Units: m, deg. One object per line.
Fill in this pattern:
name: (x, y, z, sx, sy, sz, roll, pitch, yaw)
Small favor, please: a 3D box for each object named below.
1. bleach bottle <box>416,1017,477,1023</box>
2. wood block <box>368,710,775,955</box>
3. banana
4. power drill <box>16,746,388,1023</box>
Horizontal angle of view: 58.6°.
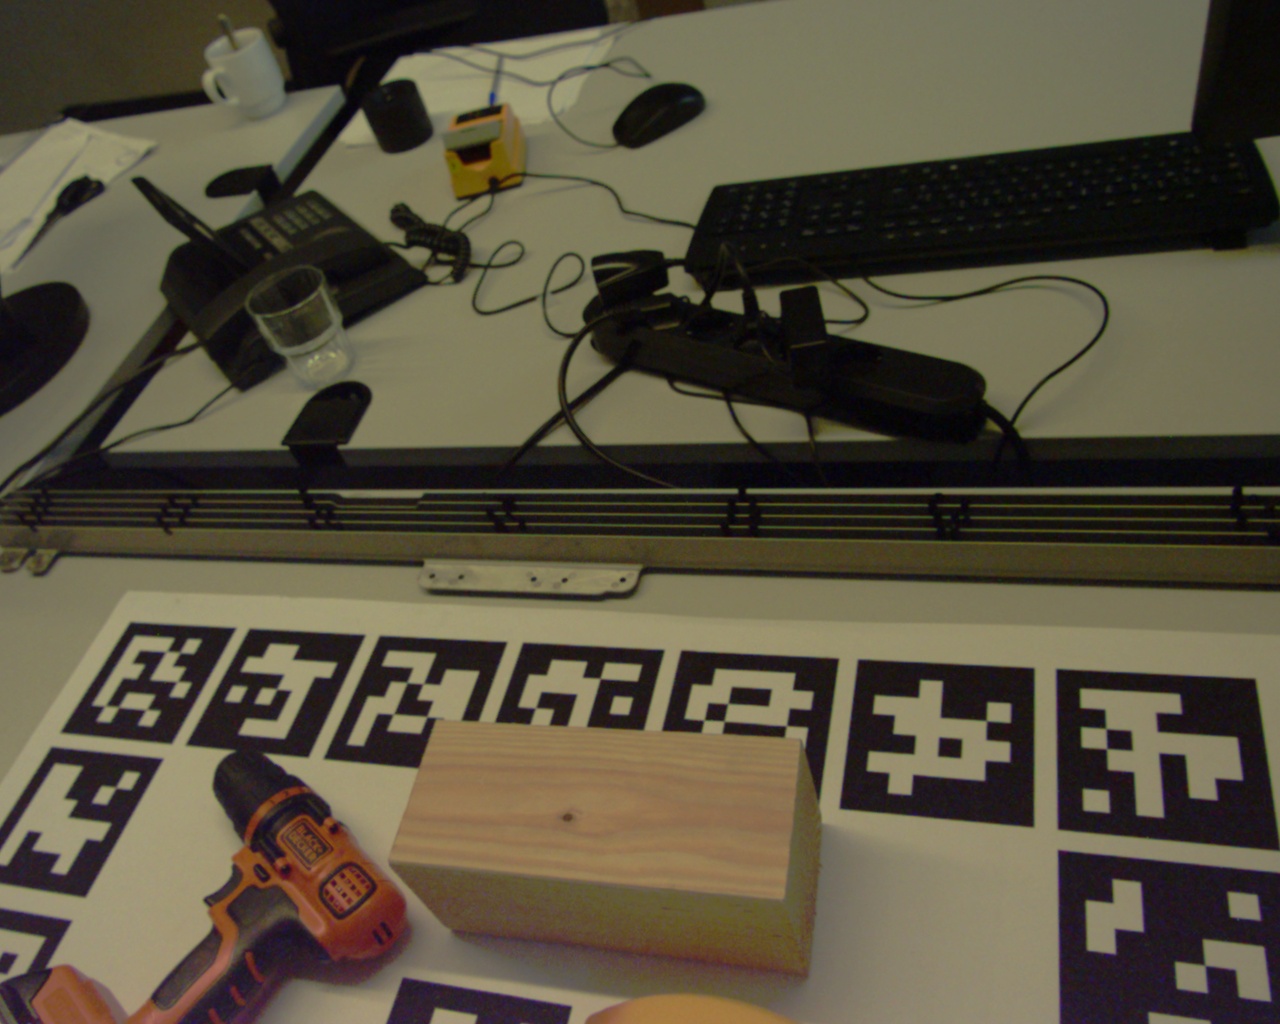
bleach bottle: (-0.051, 0.259, 0.445, 0.069, 0.249, 0.102, 27, 58, 38)
wood block: (-0.031, 0.175, 0.641, 0.208, 0.090, 0.090, 0, 47, 19)
banana: (0.030, 0.256, 0.569, 0.200, 0.038, 0.074, 15, 67, 29)
power drill: (-0.268, 0.245, 0.684, 0.187, 0.057, 0.186, 29, 60, 35)
